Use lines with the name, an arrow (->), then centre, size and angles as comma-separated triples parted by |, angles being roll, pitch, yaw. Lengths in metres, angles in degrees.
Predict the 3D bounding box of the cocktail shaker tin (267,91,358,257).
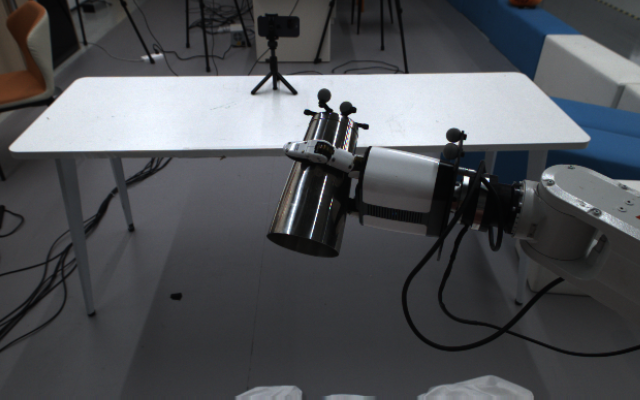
cocktail shaker tin -> 0.000, -0.021, 0.614 | 0.093, 0.093, 0.170 | 11, 71, 12
